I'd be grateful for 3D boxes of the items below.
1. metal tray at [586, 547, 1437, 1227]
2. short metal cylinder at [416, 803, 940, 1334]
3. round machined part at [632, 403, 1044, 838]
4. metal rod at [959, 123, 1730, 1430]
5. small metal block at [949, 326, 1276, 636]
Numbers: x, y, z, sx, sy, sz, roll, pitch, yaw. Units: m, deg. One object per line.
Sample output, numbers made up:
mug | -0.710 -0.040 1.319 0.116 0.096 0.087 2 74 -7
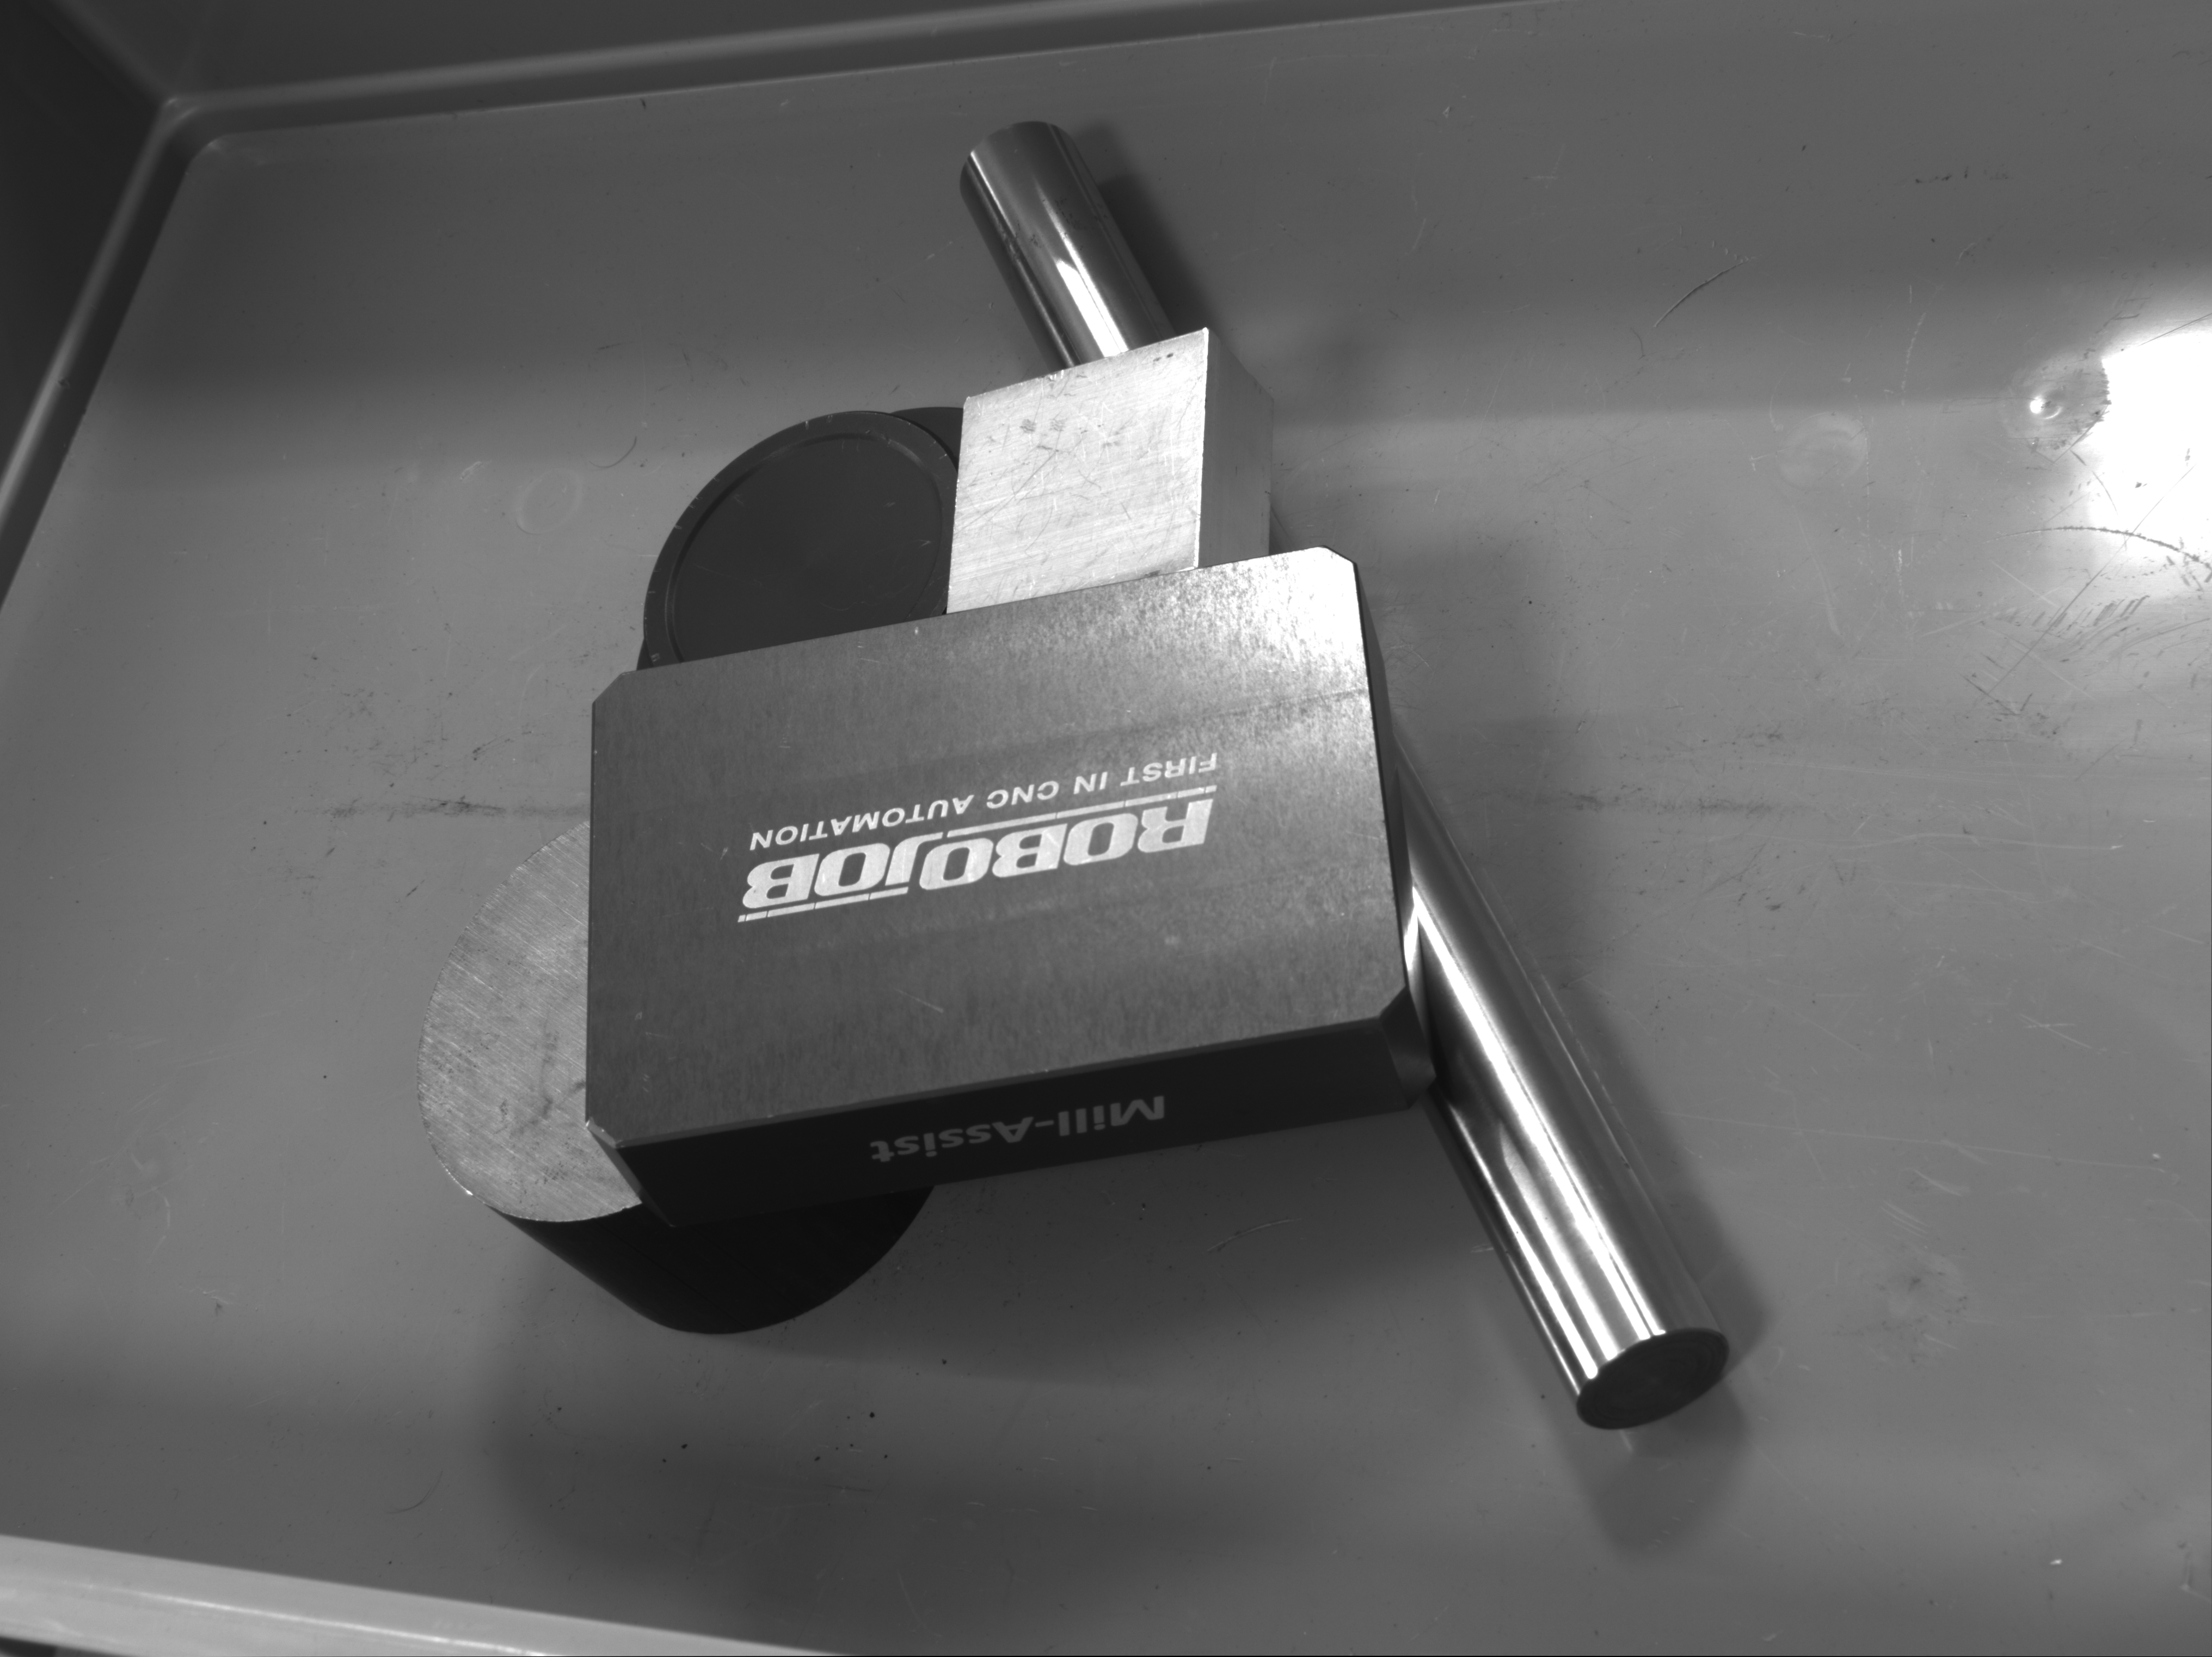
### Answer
metal tray | -0.017 0.009 0.595 0.130 0.030 0.090 -10 57 8
short metal cylinder | -0.072 0.041 0.641 0.080 0.050 0.080 -14 56 21
round machined part | -0.047 -0.039 0.681 0.098 0.042 0.098 -14 55 22
metal rod | 0.032 -0.024 0.642 0.025 0.025 0.299 -31 51 8
small metal block | 0.001 -0.055 0.647 0.050 0.025 0.050 -13 58 28
